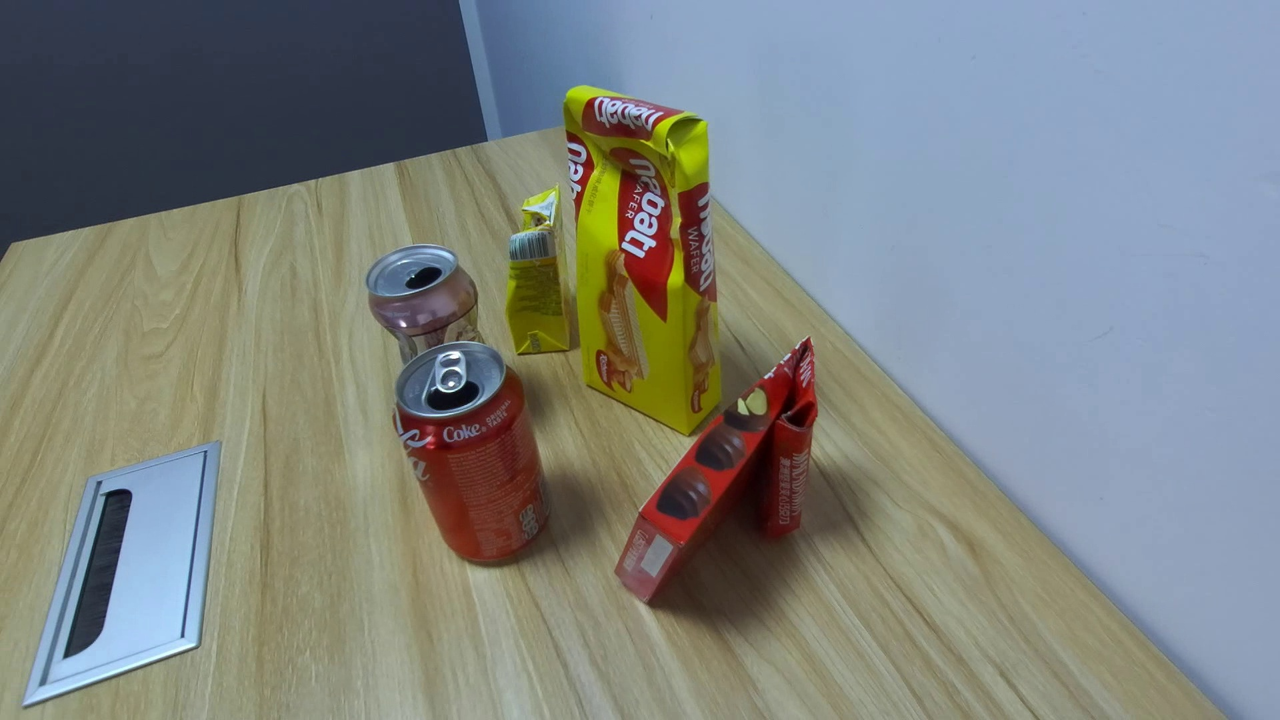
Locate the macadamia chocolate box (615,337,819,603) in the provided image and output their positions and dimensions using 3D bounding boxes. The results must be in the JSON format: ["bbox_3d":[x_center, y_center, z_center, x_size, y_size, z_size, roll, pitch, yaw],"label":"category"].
[{"bbox_3d":[0.044,0.062,0.361,0.127,0.112,0.056,-32,50,-28],"label":"macadamia chocolate box"}]

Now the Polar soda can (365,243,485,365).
[{"bbox_3d":[-0.129,-0.008,0.455,0.067,0.122,0.074,-3,40,2],"label":"Polar soda can"}]

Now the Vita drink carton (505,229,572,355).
[{"bbox_3d":[-0.073,-0.066,0.519,0.046,0.110,0.071,0,38,4],"label":"Vita drink carton"}]

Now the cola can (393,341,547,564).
[{"bbox_3d":[-0.089,0.051,0.383,0.068,0.120,0.067,-3,41,3],"label":"cola can"}]

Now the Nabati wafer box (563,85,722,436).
[{"bbox_3d":[0.000,-0.053,0.424,0.113,0.205,0.043,25,49,32],"label":"Nabati wafer box"}]
